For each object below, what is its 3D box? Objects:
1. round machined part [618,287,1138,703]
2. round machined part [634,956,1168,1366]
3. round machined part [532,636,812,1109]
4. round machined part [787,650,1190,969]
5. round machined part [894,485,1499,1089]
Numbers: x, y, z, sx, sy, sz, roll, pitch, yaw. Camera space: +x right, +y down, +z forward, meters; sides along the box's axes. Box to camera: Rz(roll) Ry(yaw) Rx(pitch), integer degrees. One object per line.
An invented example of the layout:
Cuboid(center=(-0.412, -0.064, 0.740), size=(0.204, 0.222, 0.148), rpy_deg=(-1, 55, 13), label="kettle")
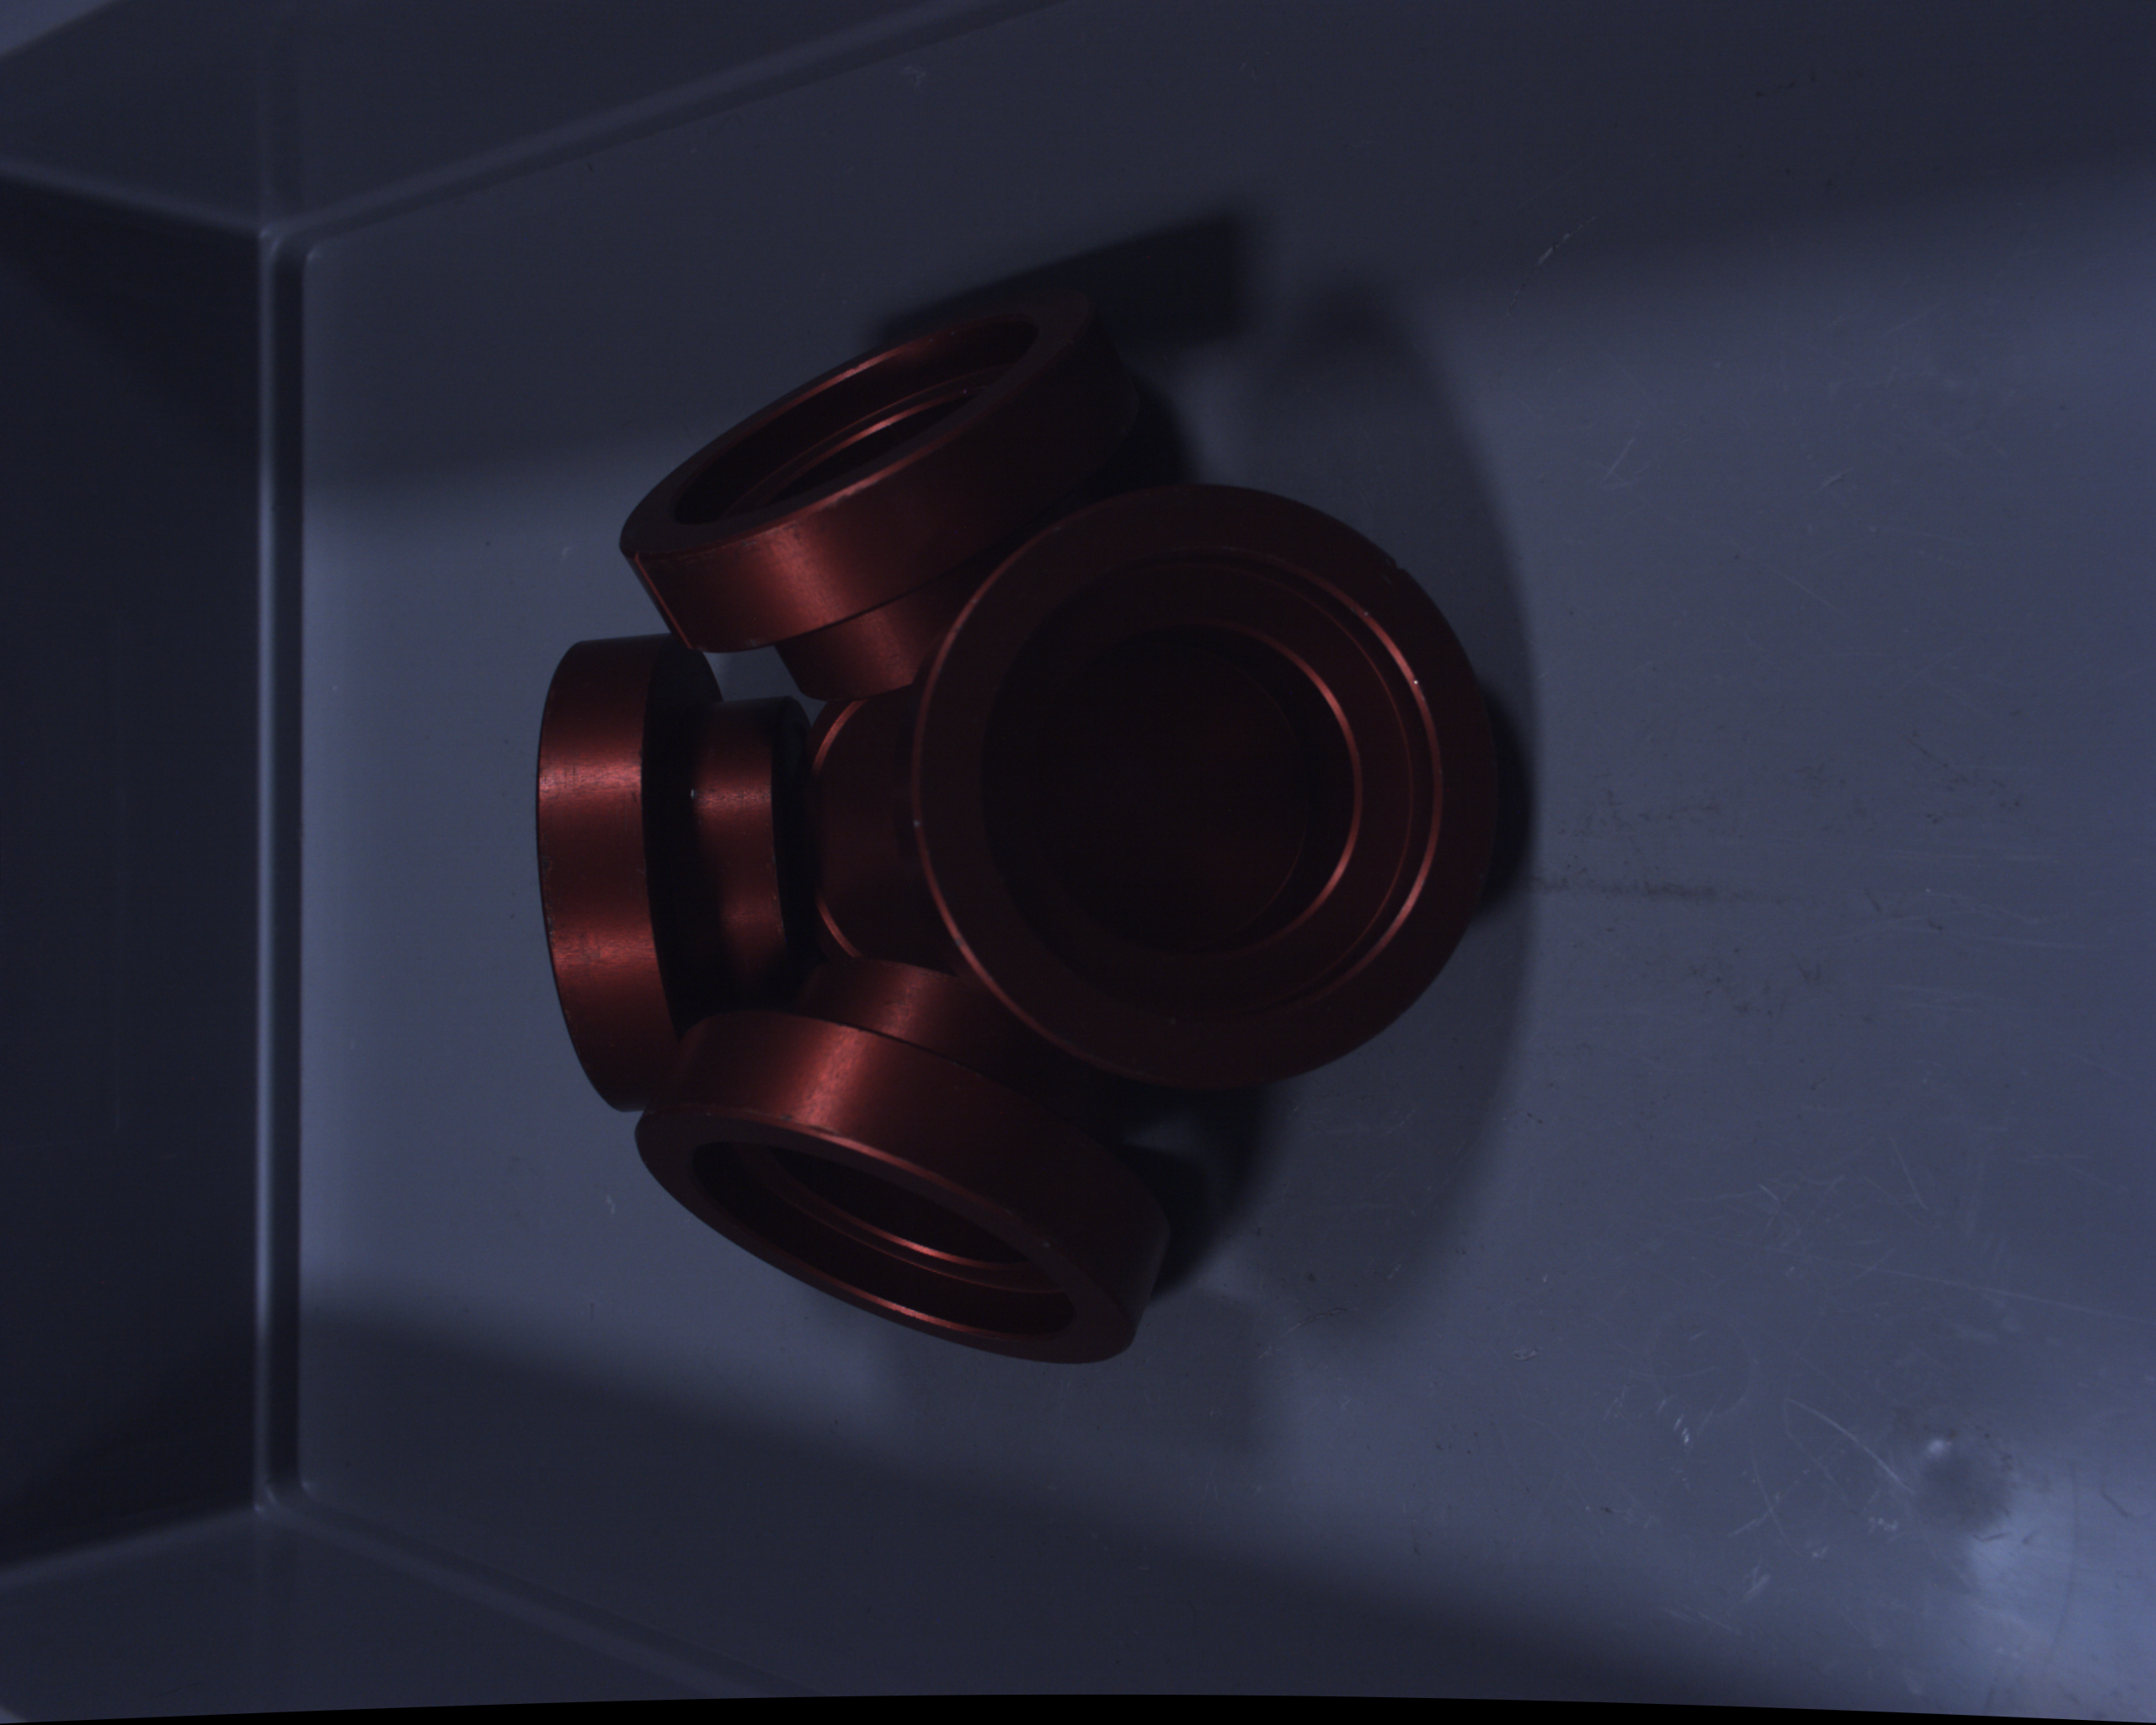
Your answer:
Cuboid(center=(-0.033, -0.066, 0.394), size=(0.098, 0.098, 0.042), rpy_deg=(-5, 125, 39), label="round machined part")
Cuboid(center=(-0.029, 0.053, 0.391), size=(0.098, 0.098, 0.042), rpy_deg=(-2, 53, 39), label="round machined part")
Cuboid(center=(-0.077, 0.001, 0.431), size=(0.042, 0.098, 0.097), rpy_deg=(-5, 86, 2), label="round machined part")
Cuboid(center=(-0.018, -0.007, 0.406), size=(0.098, 0.042, 0.097), rpy_deg=(0, 90, 39), label="round machined part")
Cuboid(center=(0.017, -0.012, 0.354), size=(0.042, 0.099, 0.097), rpy_deg=(171, 97, -75), label="round machined part")
